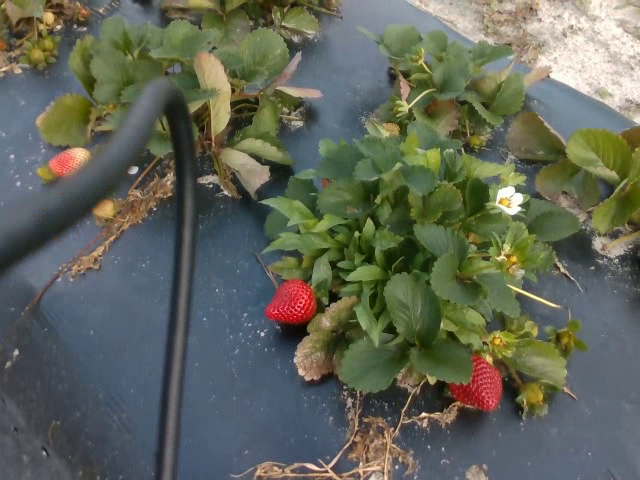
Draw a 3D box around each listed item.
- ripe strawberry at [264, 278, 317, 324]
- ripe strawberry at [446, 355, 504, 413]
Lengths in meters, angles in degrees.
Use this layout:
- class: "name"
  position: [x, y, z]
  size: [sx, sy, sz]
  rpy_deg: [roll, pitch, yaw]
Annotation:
- class: "ripe strawberry"
  position: [-0.027, 0.054, 0.508]
  size: [0.050, 0.043, 0.043]
  rpy_deg: [-27, -30, -28]
- class: "ripe strawberry"
  position: [0.120, 0.111, 0.465]
  size: [0.043, 0.047, 0.046]
  rpy_deg: [-27, 34, 1]
